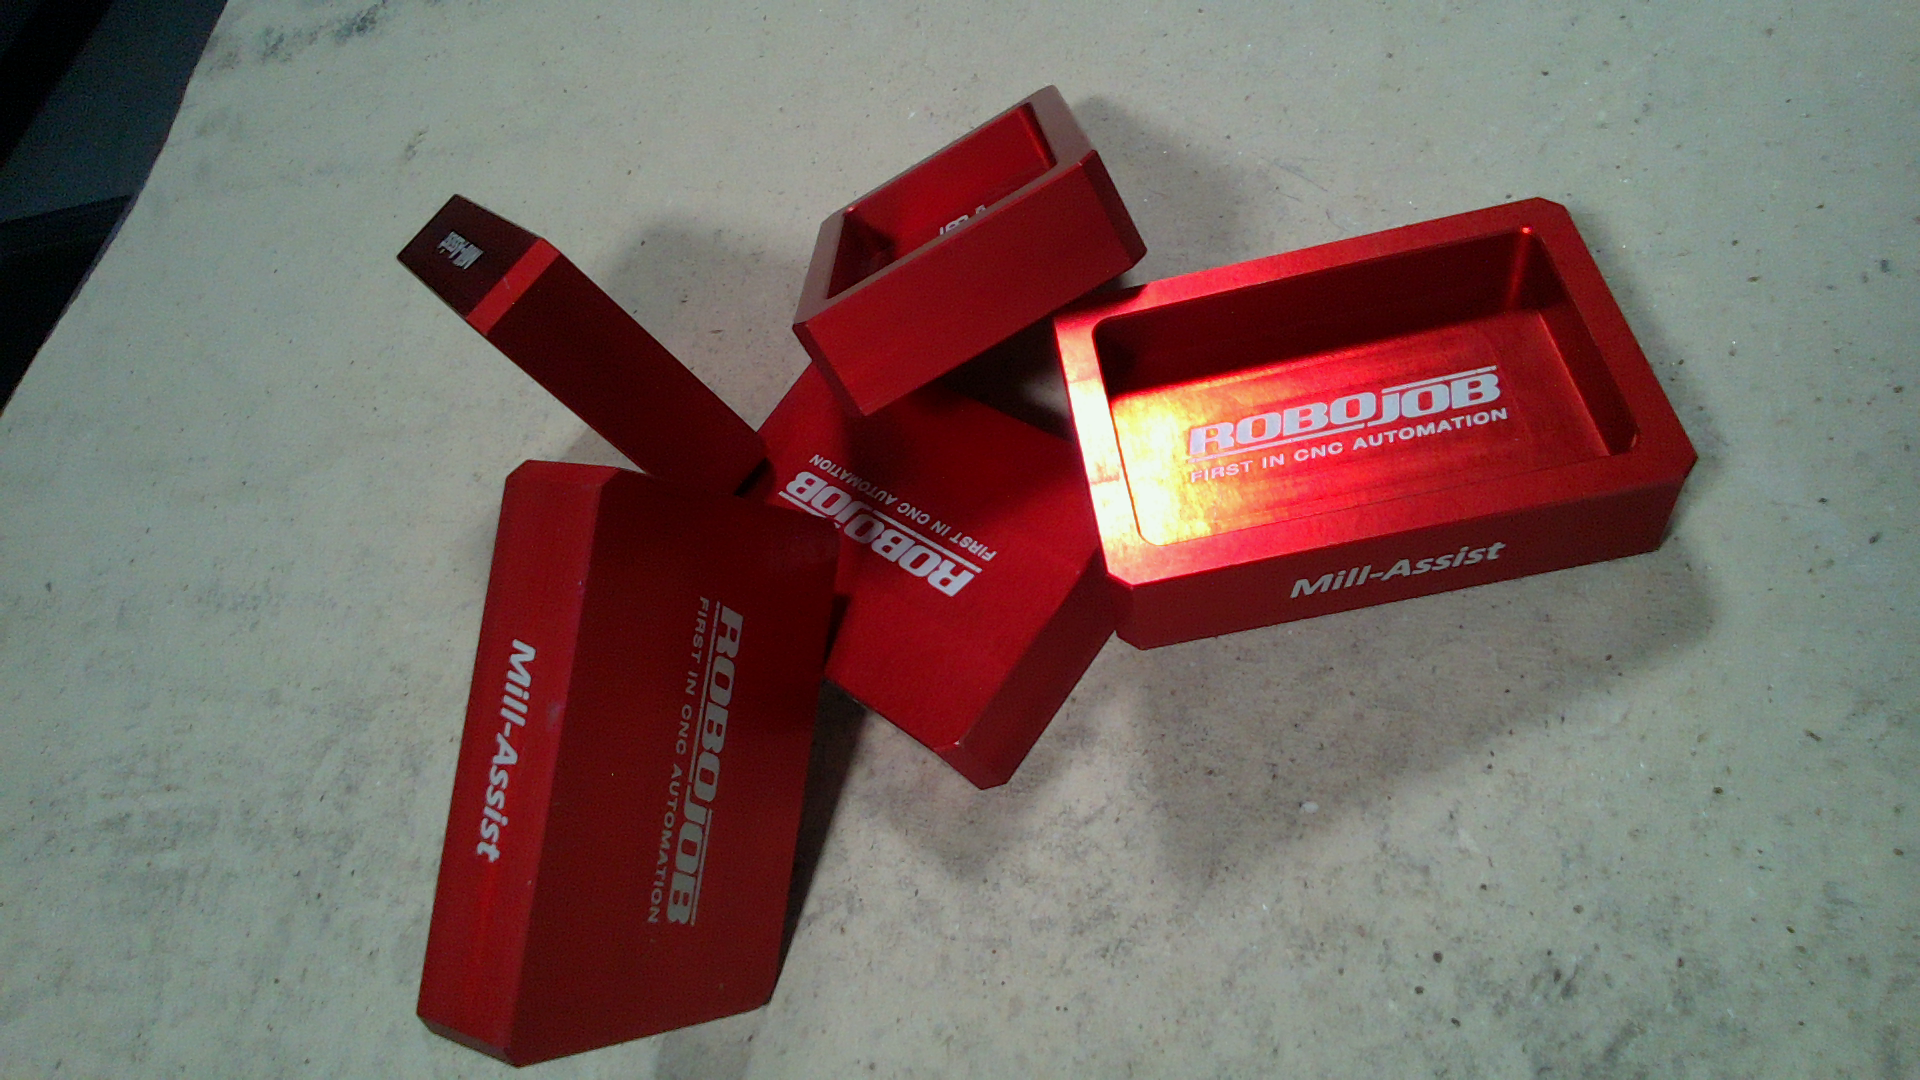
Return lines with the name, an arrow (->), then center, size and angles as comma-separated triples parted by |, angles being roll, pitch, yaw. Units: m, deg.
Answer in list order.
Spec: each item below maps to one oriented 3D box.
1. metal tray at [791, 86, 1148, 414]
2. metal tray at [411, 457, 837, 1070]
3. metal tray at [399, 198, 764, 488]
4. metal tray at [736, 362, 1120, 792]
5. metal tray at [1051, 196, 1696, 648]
metal tray -> 0.000, -0.091, 0.409 | 0.090, 0.030, 0.130 | -28, 23, 11
metal tray -> -0.077, 0.052, 0.336 | 0.030, 0.090, 0.130 | 5, 85, 32
metal tray -> -0.123, -0.060, 0.435 | 0.030, 0.090, 0.130 | -49, 34, -6
metal tray -> -0.016, 0.002, 0.398 | 0.130, 0.030, 0.090 | 29, 77, 38
metal tray -> 0.094, -0.031, 0.337 | 0.130, 0.030, 0.090 | -12, 55, 4
